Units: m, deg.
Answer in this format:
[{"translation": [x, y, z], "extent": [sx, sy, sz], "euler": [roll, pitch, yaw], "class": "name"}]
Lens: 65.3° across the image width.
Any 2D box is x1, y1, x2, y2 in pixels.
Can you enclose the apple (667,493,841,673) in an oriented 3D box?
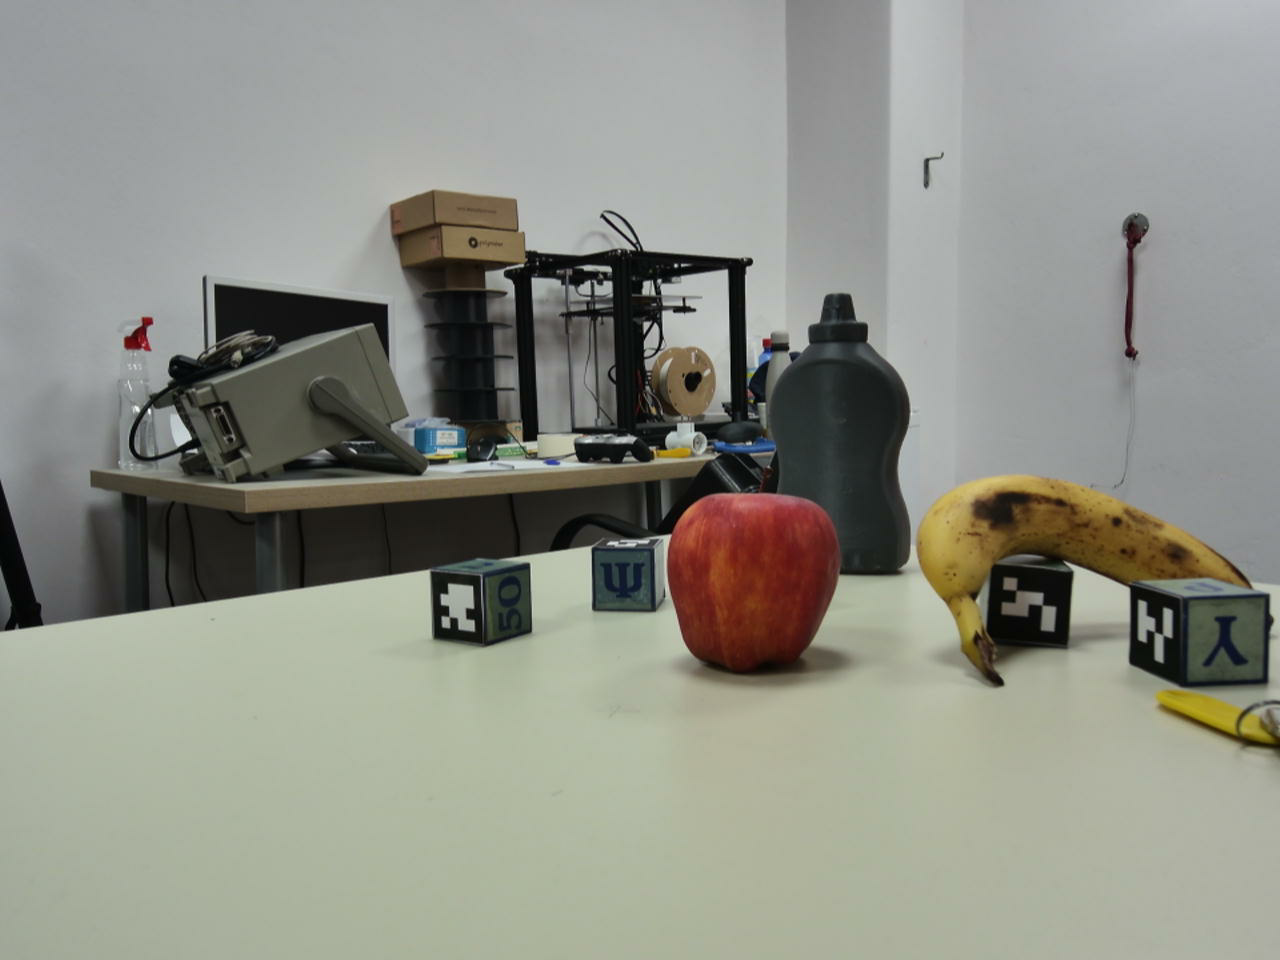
[{"translation": [0.054, 0.040, 0.468], "extent": [0.083, 0.090, 0.083], "euler": [0, 3, 0], "class": "apple"}]
